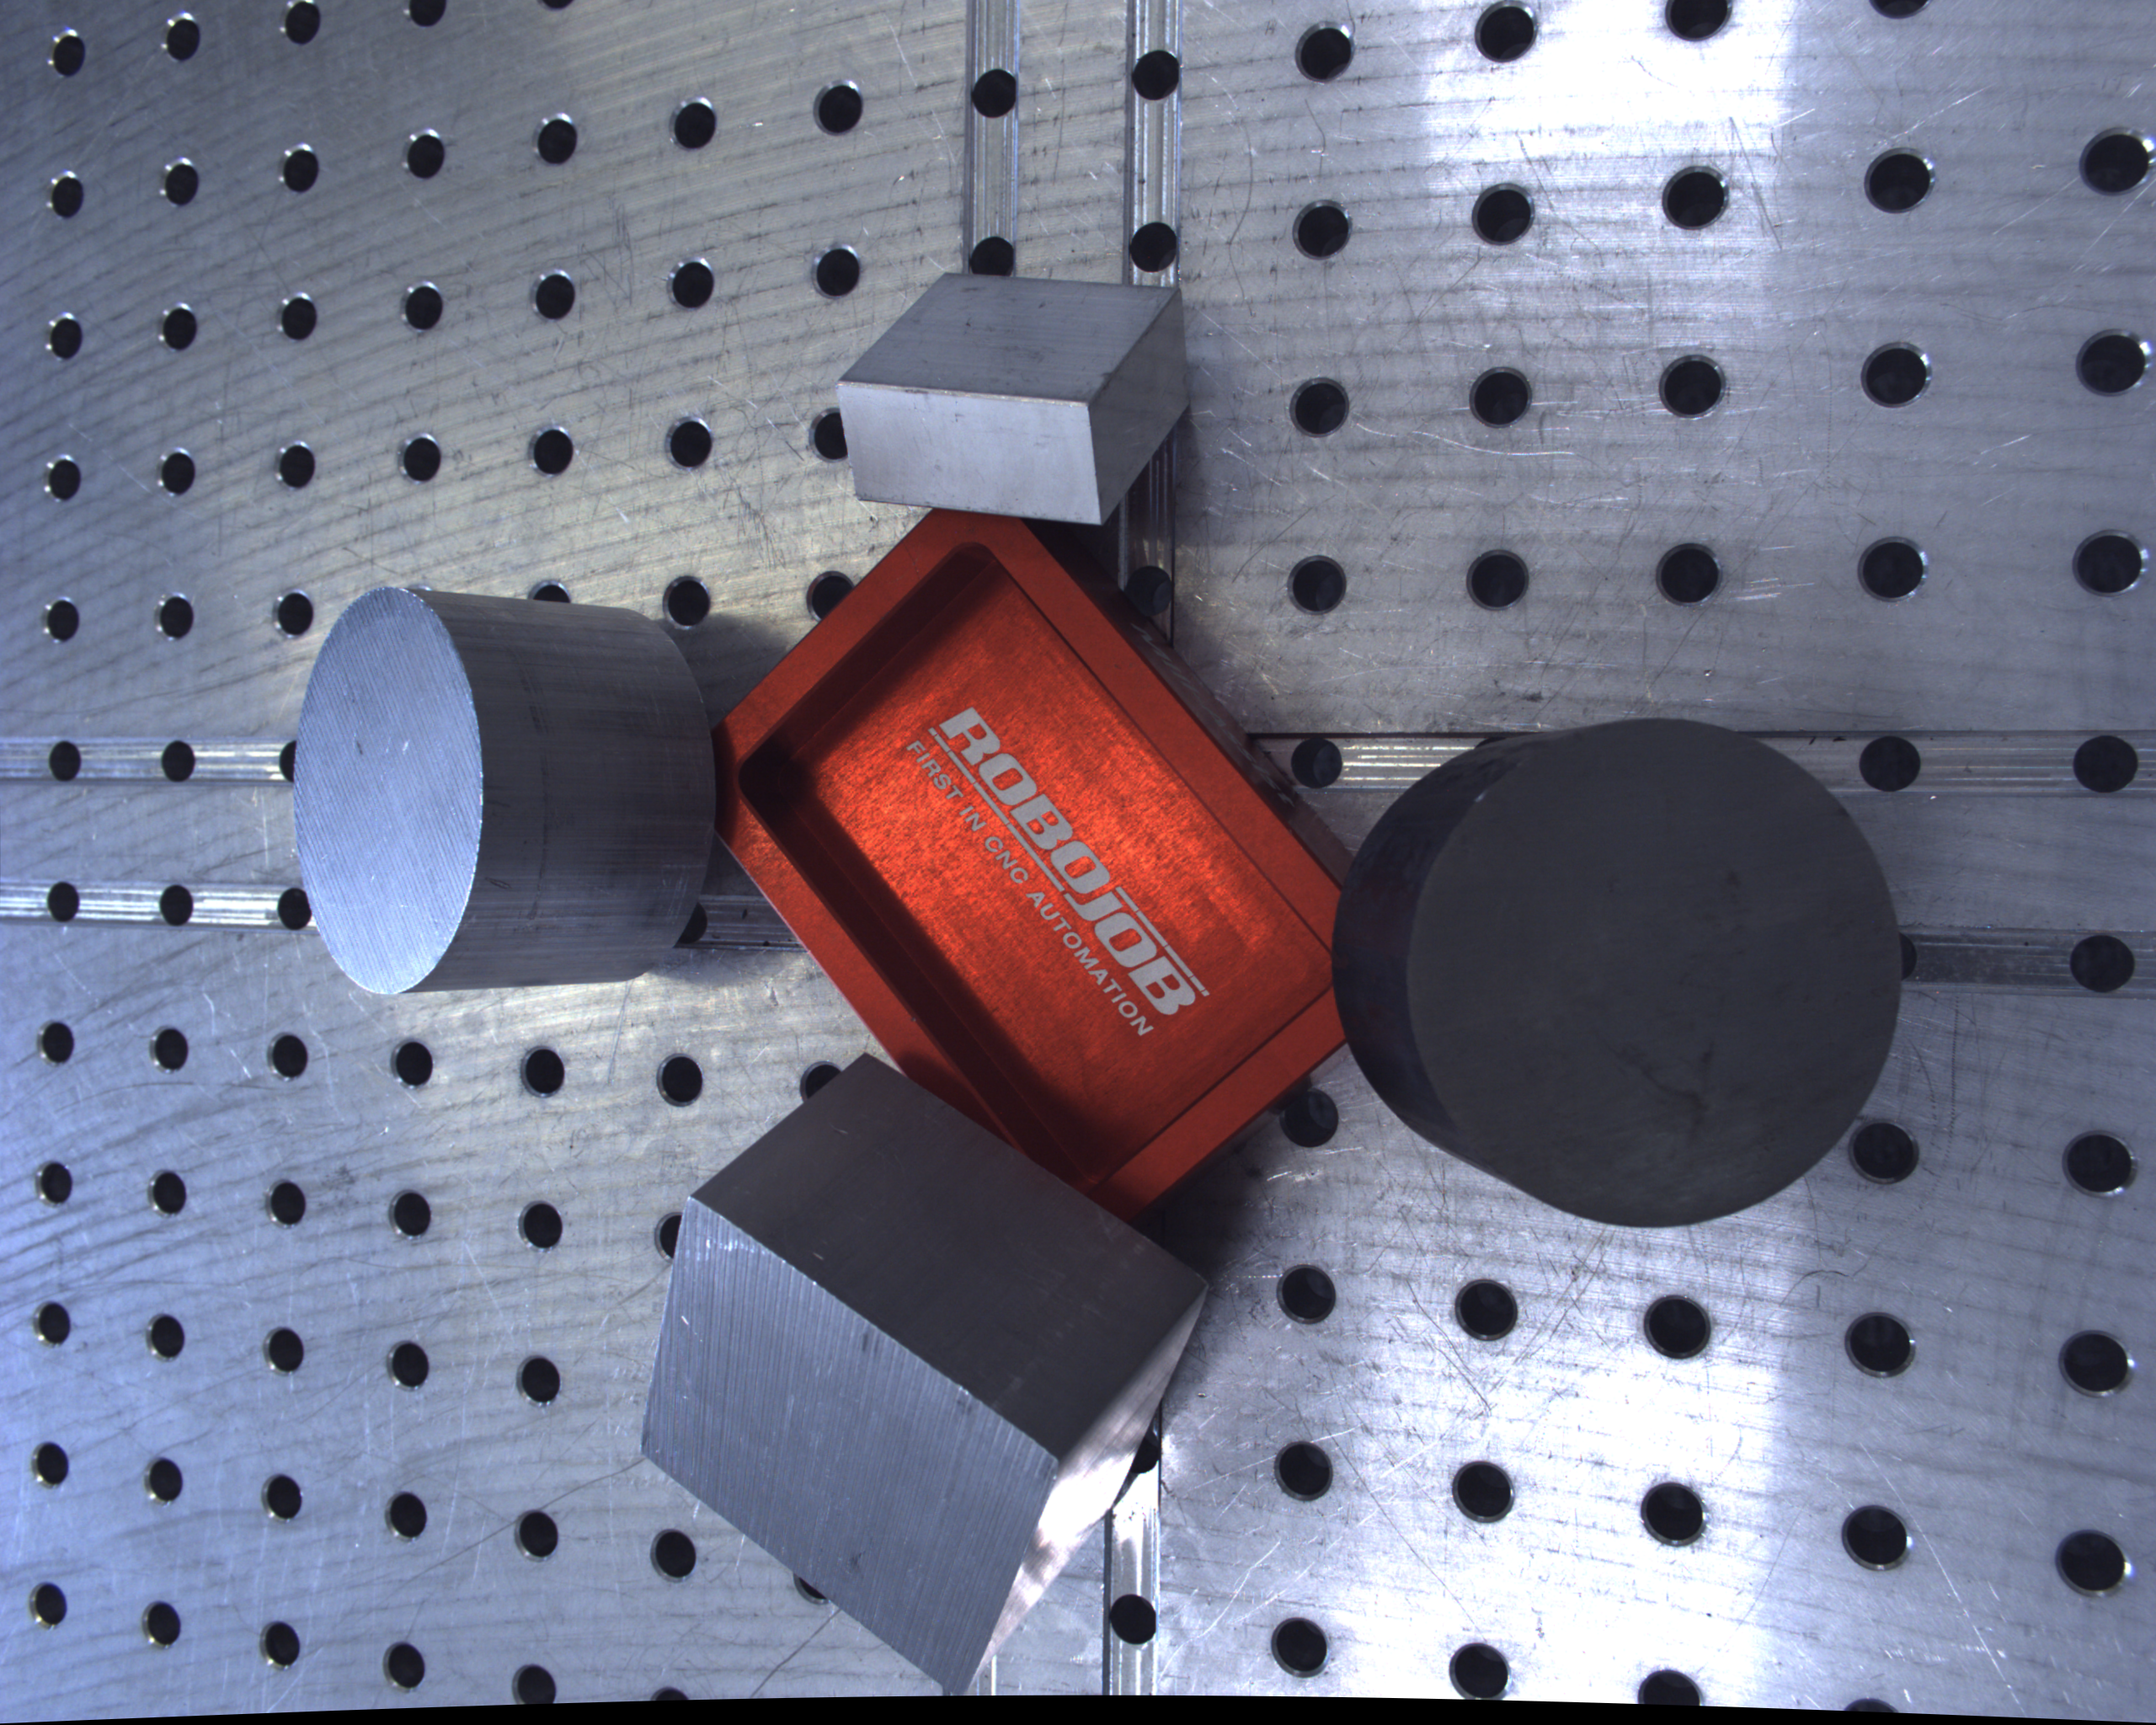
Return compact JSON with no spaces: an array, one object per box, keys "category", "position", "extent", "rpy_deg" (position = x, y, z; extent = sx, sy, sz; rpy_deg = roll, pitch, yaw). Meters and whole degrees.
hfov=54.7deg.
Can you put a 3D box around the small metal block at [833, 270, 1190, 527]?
[{"category":"small metal block","position":[-0.011,-0.090,0.400],"extent":[0.050,0.050,0.025],"rpy_deg":[10,131,20]}]

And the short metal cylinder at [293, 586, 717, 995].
[{"category":"short metal cylinder","position":[-0.118,-0.014,0.425],"extent":[0.080,0.050,0.079],"rpy_deg":[1,91,45]}]

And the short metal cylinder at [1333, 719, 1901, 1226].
[{"category":"short metal cylinder","position":[0.088,0.017,0.352],"extent":[0.081,0.050,0.079],"rpy_deg":[0,90,-7]}]

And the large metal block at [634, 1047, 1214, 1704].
[{"category":"large metal block","position":[-0.031,0.096,0.392],"extent":[0.080,0.050,0.079],"rpy_deg":[32,131,16]}]

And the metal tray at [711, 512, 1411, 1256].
[{"category":"metal tray","position":[-0.006,0.001,0.411],"extent":[0.090,0.030,0.130],"rpy_deg":[-43,77,15]}]
